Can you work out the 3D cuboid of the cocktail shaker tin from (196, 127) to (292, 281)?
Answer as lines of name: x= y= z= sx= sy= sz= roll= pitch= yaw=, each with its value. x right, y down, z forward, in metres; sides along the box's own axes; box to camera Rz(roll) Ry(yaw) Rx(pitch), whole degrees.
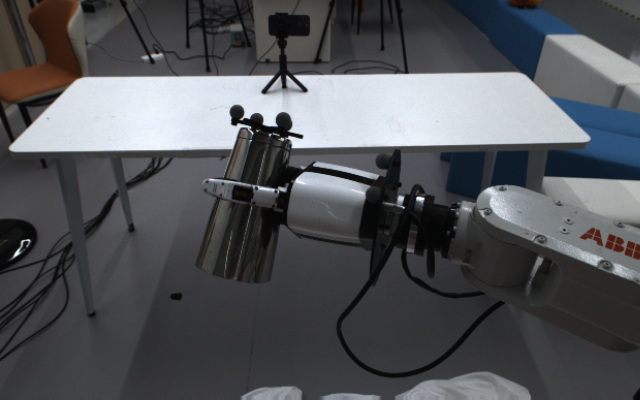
cocktail shaker tin: x=-0.085 y=0.005 z=0.584 sx=0.093 sy=0.170 sz=0.093 roll=14 pitch=2 yaw=0
